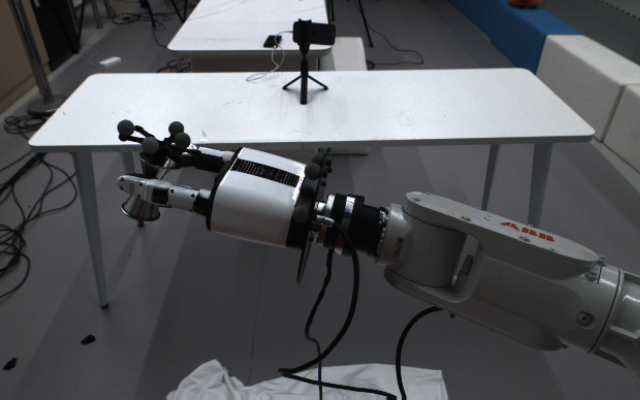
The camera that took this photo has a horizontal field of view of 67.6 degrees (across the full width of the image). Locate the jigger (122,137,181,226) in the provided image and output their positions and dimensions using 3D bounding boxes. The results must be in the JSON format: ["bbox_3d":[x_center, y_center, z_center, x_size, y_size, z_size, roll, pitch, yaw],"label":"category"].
[{"bbox_3d":[-0.192,-0.015,0.543,0.043,0.071,0.043,22,19,-8],"label":"jigger"}]
